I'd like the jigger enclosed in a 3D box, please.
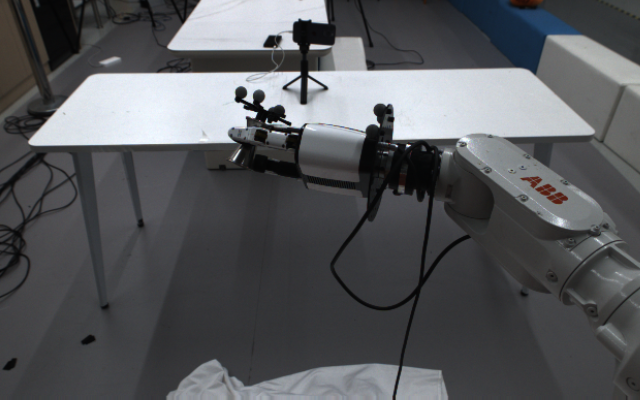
[{"bbox_3d":[-0.102,-0.081,0.688,0.043,0.071,0.043,24,-2,1],"label":"jigger"}]
